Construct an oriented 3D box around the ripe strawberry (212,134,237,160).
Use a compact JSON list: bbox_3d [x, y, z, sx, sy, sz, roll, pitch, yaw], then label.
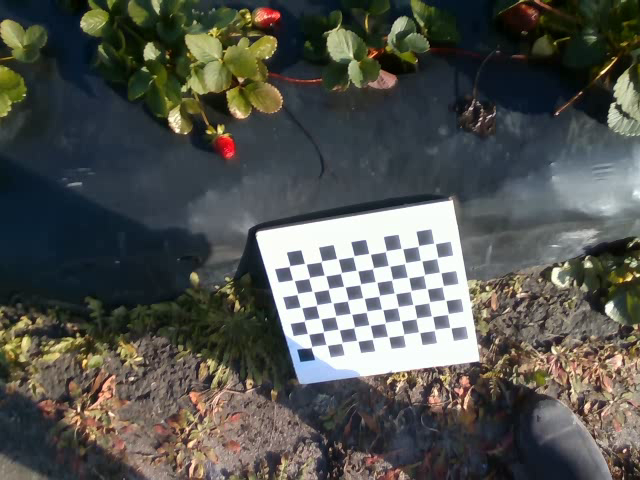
[{"bbox_3d":[-0.111,-0.110,0.829,0.028,0.041,0.031,-34,-40,18],"label":"ripe strawberry"}]
